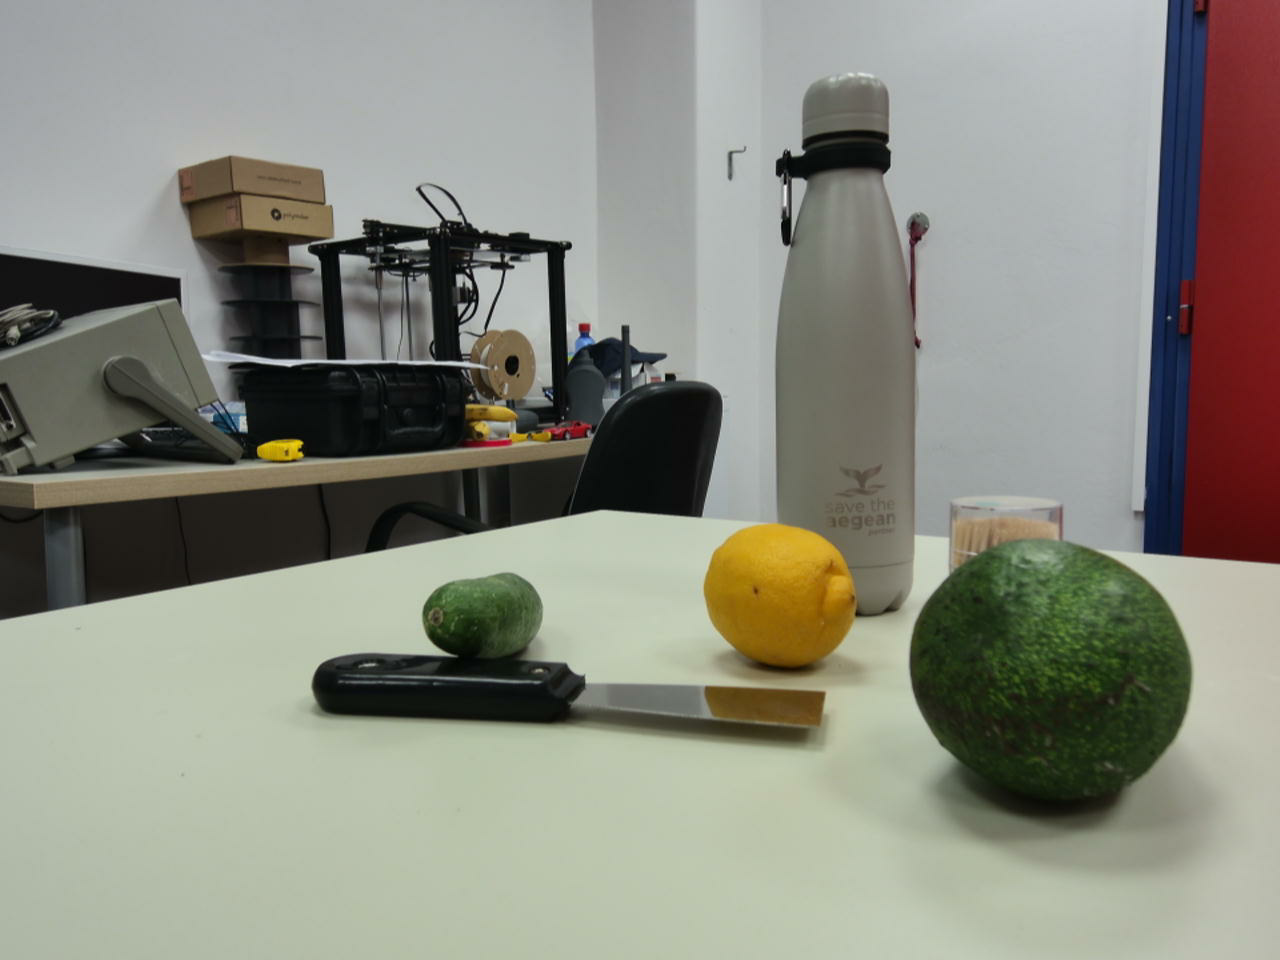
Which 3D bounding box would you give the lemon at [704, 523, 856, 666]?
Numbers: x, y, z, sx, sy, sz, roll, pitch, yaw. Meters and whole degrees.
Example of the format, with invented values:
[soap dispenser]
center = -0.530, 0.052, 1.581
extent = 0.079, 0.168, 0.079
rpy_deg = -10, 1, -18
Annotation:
[lemon]
center = 0.060, 0.049, 0.432
extent = 0.061, 0.059, 0.067
rpy_deg = 0, 3, -11
